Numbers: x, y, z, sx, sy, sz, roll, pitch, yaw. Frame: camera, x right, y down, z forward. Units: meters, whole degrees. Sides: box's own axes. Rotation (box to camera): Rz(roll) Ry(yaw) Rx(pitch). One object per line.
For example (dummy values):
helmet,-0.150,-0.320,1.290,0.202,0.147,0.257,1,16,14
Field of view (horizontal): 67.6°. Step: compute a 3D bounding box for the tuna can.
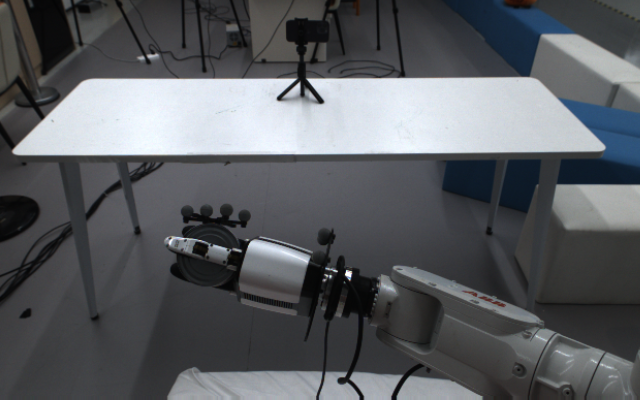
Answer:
tuna can,-0.148,0.077,0.662,0.085,0.034,0.085,0,77,-2
